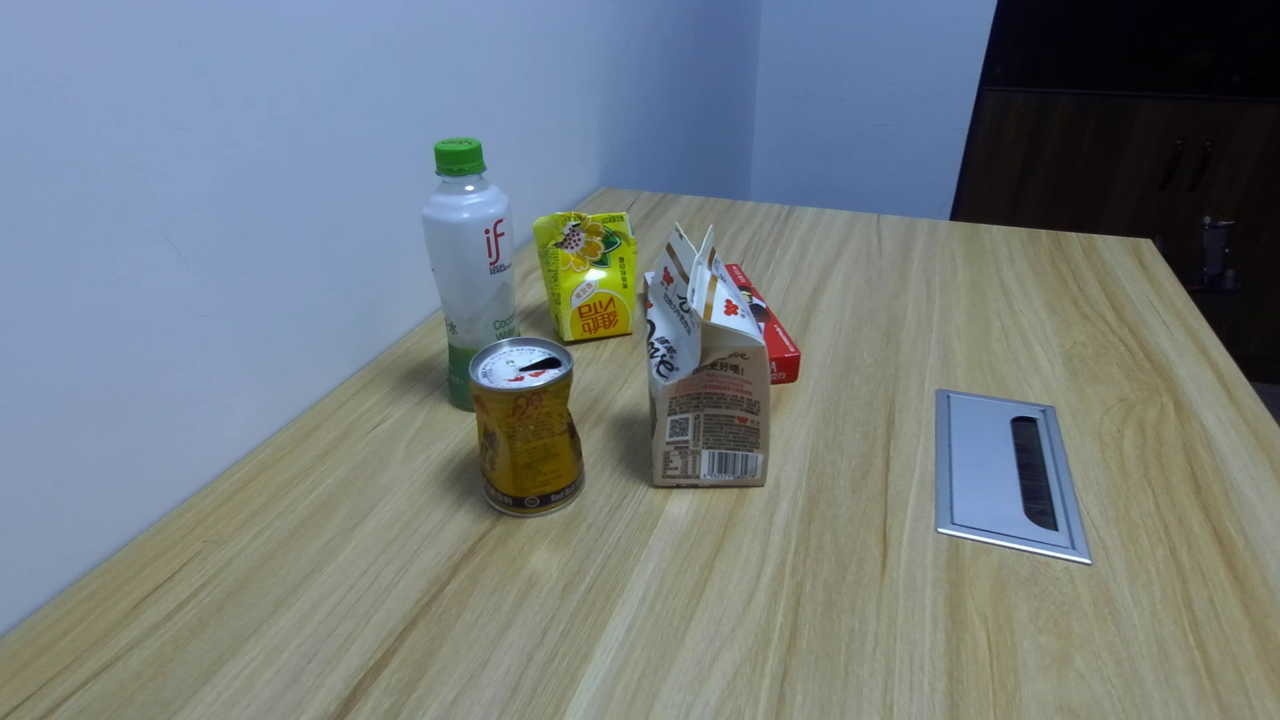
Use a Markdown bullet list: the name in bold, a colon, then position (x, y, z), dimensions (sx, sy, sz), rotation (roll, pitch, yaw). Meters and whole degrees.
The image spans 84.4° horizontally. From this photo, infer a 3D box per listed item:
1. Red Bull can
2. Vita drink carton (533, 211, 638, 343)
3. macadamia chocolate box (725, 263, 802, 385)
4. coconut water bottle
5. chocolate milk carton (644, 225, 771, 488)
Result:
- **Red Bull can**: position (-0.067, 0.039, 0.431), dimensions (0.072, 0.092, 0.072), rotation (0, 31, 1)
- **Vita drink carton**: position (-0.044, -0.075, 0.611), dimensions (0.087, 0.108, 0.042), rotation (-7, 15, -13)
- **macadamia chocolate box**: position (0.064, -0.033, 0.614), dimensions (0.096, 0.027, 0.177), rotation (-7, 32, -6)
- **coconut water bottle**: position (-0.117, -0.058, 0.501), dimensions (0.063, 0.189, 0.063), rotation (0, 31, 0)
- **chocolate milk carton**: position (0.042, -0.004, 0.436), dimensions (0.073, 0.156, 0.076), rotation (-2, 31, 2)
